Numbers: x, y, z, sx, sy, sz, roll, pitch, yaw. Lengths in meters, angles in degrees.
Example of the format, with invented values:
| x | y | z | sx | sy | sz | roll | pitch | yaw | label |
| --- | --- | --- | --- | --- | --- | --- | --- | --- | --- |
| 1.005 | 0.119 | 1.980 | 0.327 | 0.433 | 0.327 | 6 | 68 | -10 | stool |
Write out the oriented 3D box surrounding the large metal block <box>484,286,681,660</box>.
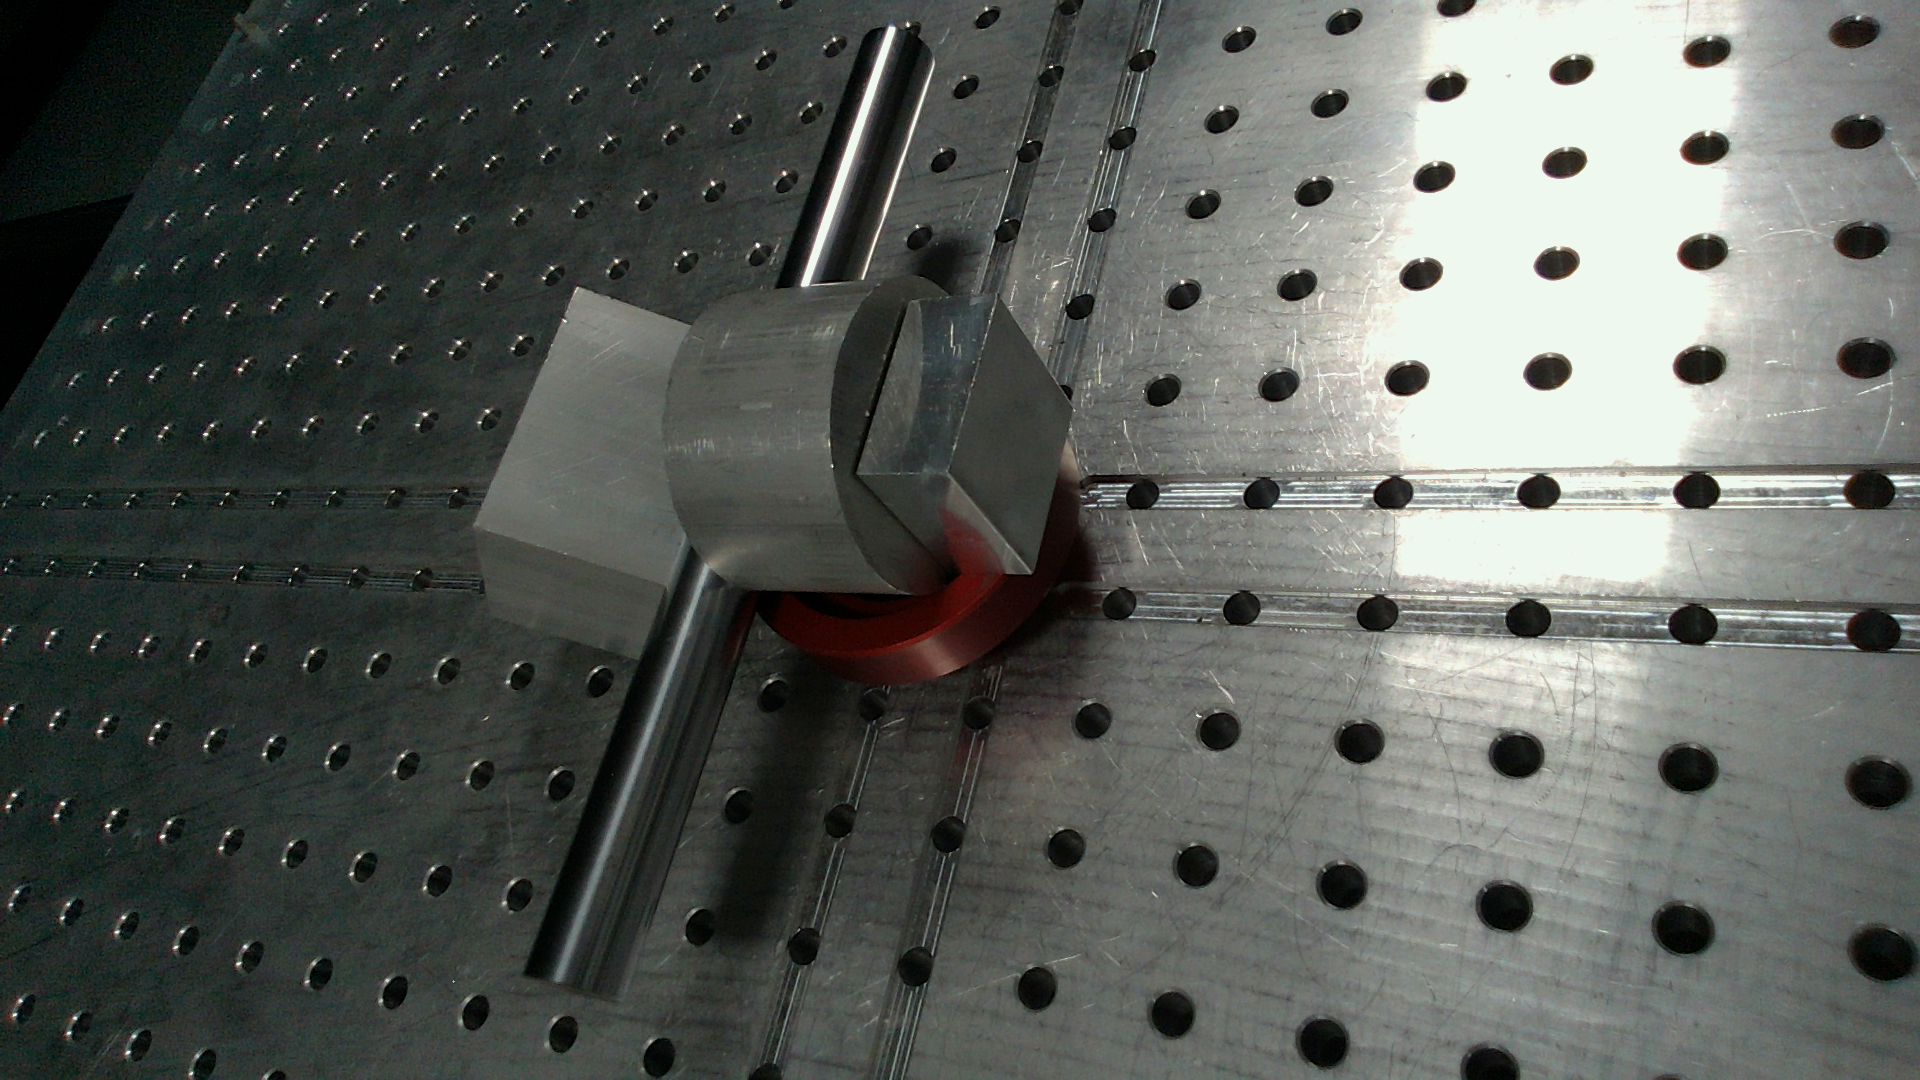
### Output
| x | y | z | sx | sy | sz | roll | pitch | yaw | label |
| --- | --- | --- | --- | --- | --- | --- | --- | --- | --- |
| -0.103 | -0.016 | 0.419 | 0.050 | 0.080 | 0.080 | 19 | 65 | -8 | large metal block |

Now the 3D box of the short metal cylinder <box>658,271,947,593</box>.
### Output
| x | y | z | sx | sy | sz | roll | pitch | yaw | label |
| --- | --- | --- | --- | --- | --- | --- | --- | --- | --- |
| -0.032 | -0.027 | 0.356 | 0.050 | 0.080 | 0.080 | 1 | 62 | 29 | short metal cylinder |

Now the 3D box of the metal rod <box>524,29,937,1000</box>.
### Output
| x | y | z | sx | sy | sz | roll | pitch | yaw | label |
| --- | --- | --- | --- | --- | --- | --- | --- | --- | --- |
| -0.056 | -0.026 | 0.389 | 0.025 | 0.025 | 0.300 | 1 | 62 | 29 | metal rod |

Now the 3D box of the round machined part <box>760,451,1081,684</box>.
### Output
| x | y | z | sx | sy | sz | roll | pitch | yaw | label |
| --- | --- | --- | --- | --- | --- | --- | --- | --- | --- |
| -0.011 | -0.004 | 0.393 | 0.098 | 0.042 | 0.098 | -13 | 56 | 21 | round machined part |

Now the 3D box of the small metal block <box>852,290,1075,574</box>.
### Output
| x | y | z | sx | sy | sz | roll | pitch | yaw | label |
| --- | --- | --- | --- | --- | --- | --- | --- | --- | --- |
| 0.003 | -0.026 | 0.340 | 0.025 | 0.050 | 0.050 | 1 | 62 | 29 | small metal block |
